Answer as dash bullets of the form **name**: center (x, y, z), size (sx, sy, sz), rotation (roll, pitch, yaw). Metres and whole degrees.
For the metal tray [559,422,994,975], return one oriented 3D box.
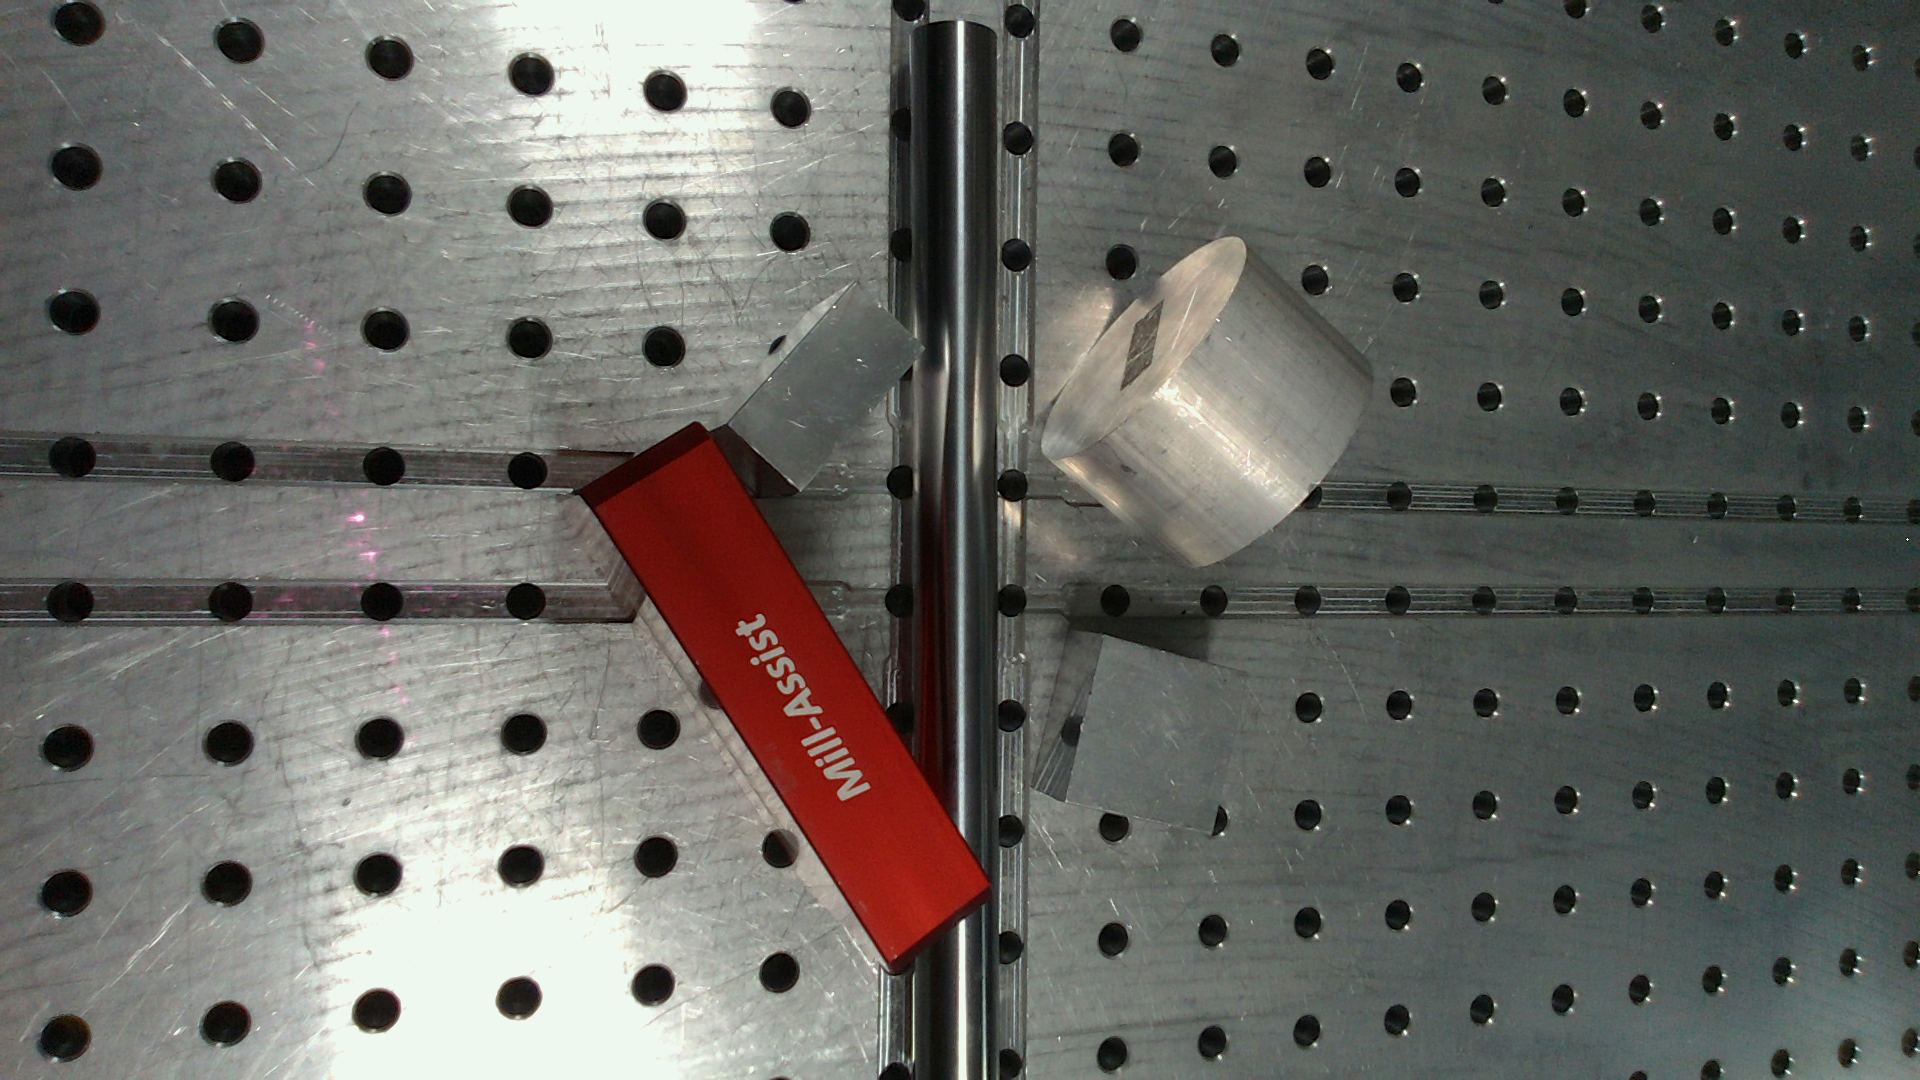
- **metal tray**: center (-0.050, 0.037, 0.343), size (0.030, 0.090, 0.130), rotation (-34, 101, -16)

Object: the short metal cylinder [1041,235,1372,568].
- **short metal cylinder**: center (0.069, -0.039, 0.391), size (0.050, 0.080, 0.080), rotation (39, 78, -16)

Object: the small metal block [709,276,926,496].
- **small metal block**: center (-0.041, -0.039, 0.367), size (0.025, 0.050, 0.050), rotation (43, 77, -15)

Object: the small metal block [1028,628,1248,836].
- **small metal block**: center (0.054, 0.058, 0.416), size (0.050, 0.025, 0.050), rotation (16, 85, -19)

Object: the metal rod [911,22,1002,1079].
- **metal rod**: center (-0.001, 0.006, 0.395), size (0.025, 0.025, 0.300), rotation (0, 90, -20)
